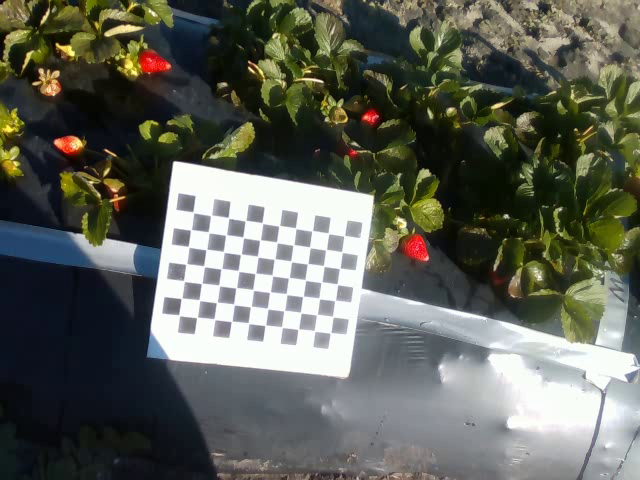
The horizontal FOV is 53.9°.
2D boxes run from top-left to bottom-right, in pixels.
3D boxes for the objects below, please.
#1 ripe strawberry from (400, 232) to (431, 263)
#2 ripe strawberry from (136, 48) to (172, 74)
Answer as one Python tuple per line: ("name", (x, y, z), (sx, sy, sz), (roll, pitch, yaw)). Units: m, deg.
("ripe strawberry", (0.153, 0.016, 0.990), (0.048, 0.055, 0.029), (-38, 7, -10))
("ripe strawberry", (-0.284, -0.304, 1.075), (0.064, 0.050, 0.052), (15, -3, -2))
